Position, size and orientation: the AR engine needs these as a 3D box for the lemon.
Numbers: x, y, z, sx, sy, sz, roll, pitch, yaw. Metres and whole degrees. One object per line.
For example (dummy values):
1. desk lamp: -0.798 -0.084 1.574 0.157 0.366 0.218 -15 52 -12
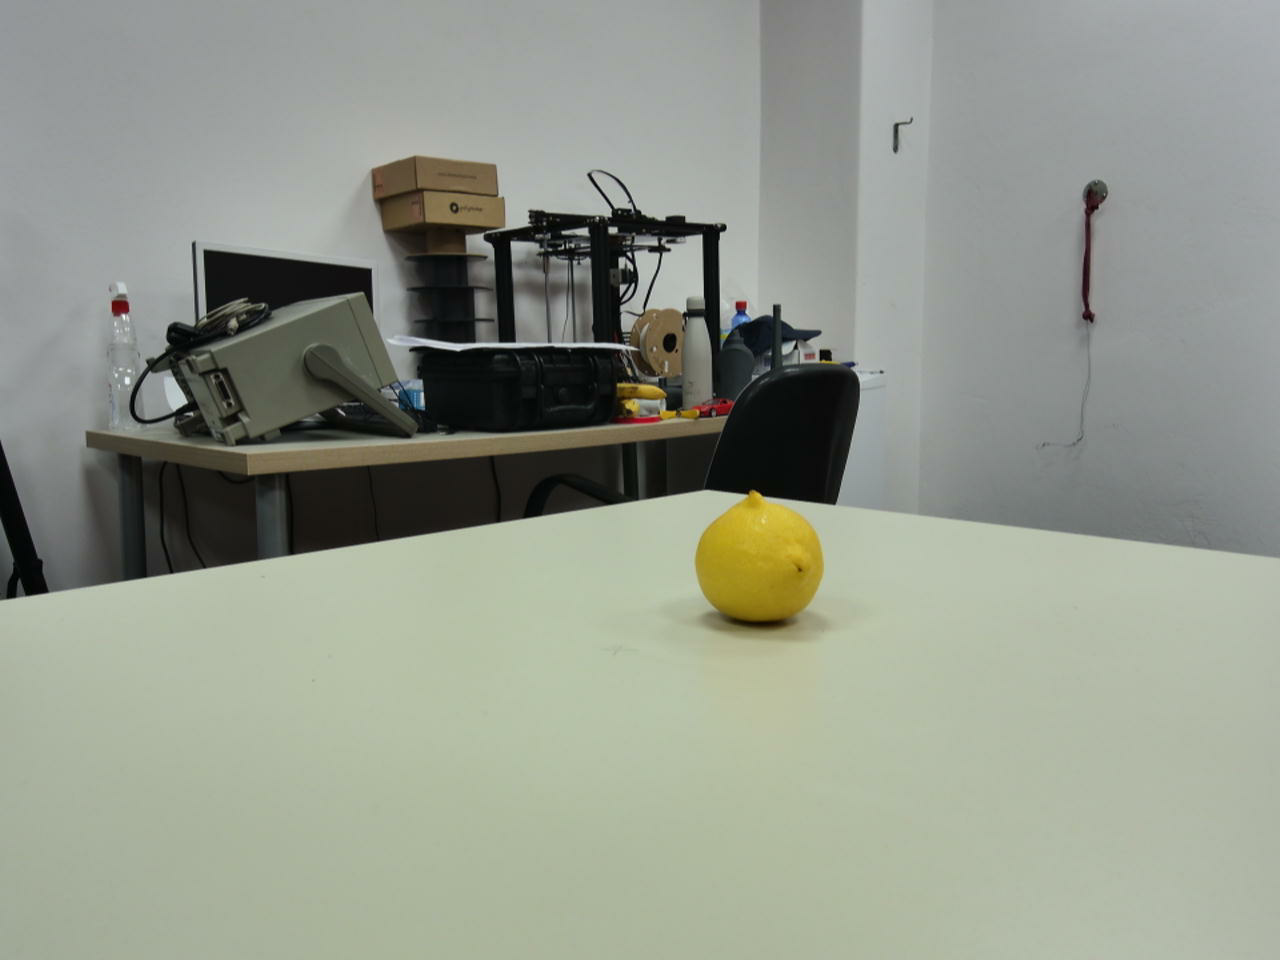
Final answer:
1. lemon: 0.065 0.042 0.551 0.070 0.071 0.071 1 5 14
